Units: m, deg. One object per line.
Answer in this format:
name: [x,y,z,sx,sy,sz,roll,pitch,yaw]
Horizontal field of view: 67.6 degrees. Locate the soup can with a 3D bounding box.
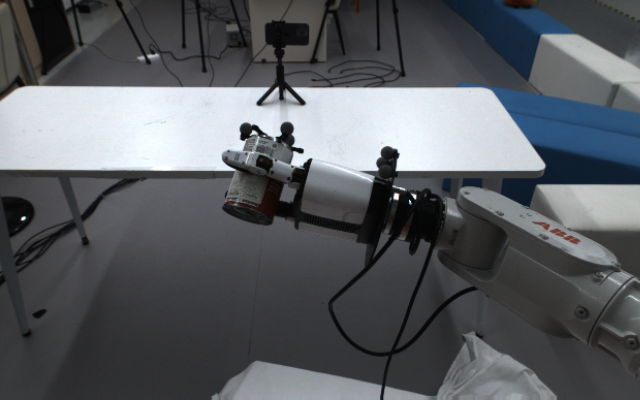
soup can: [-0.079,-0.025,0.635,0.067,0.067,0.101,11,72,13]
